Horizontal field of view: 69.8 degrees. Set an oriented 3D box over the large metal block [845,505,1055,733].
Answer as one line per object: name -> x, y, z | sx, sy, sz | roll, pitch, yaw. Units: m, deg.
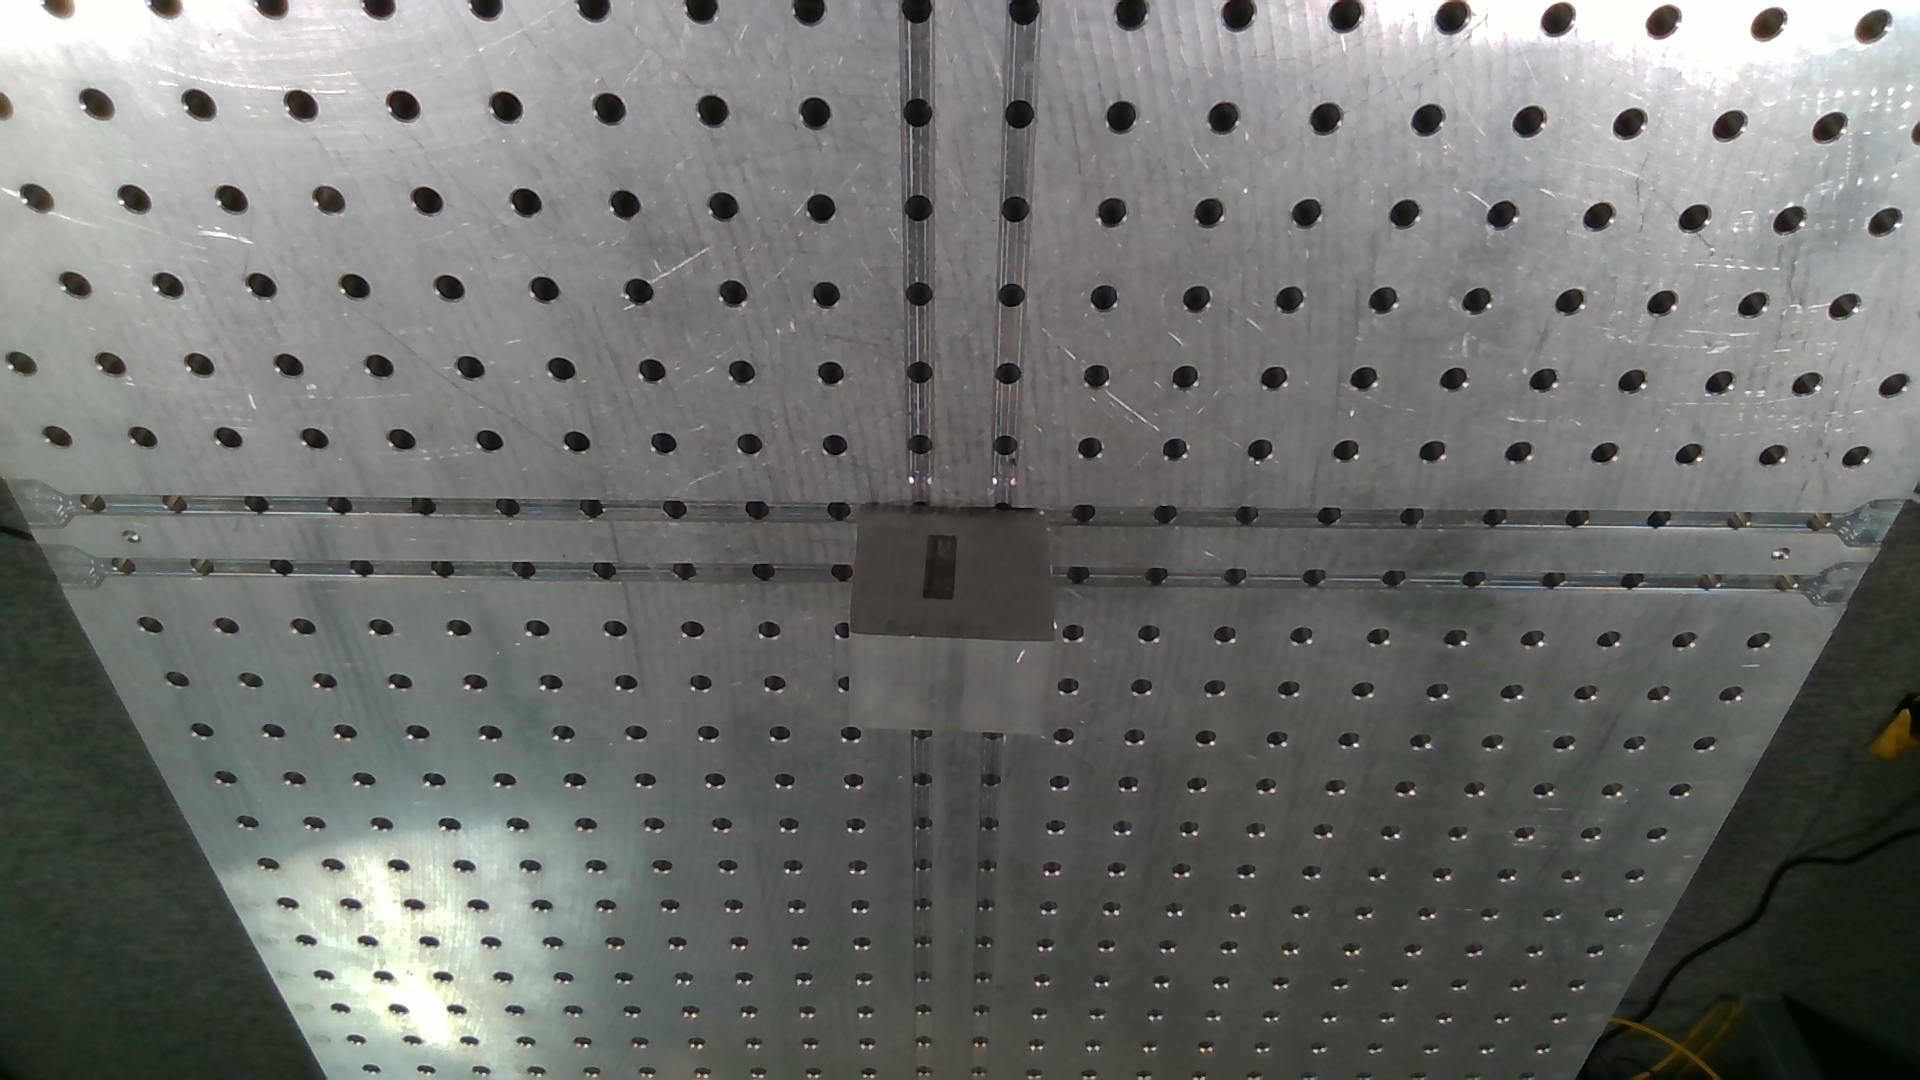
large metal block -> -0.005, 0.032, 0.572 | 0.080, 0.080, 0.050 | 3, 130, -2
